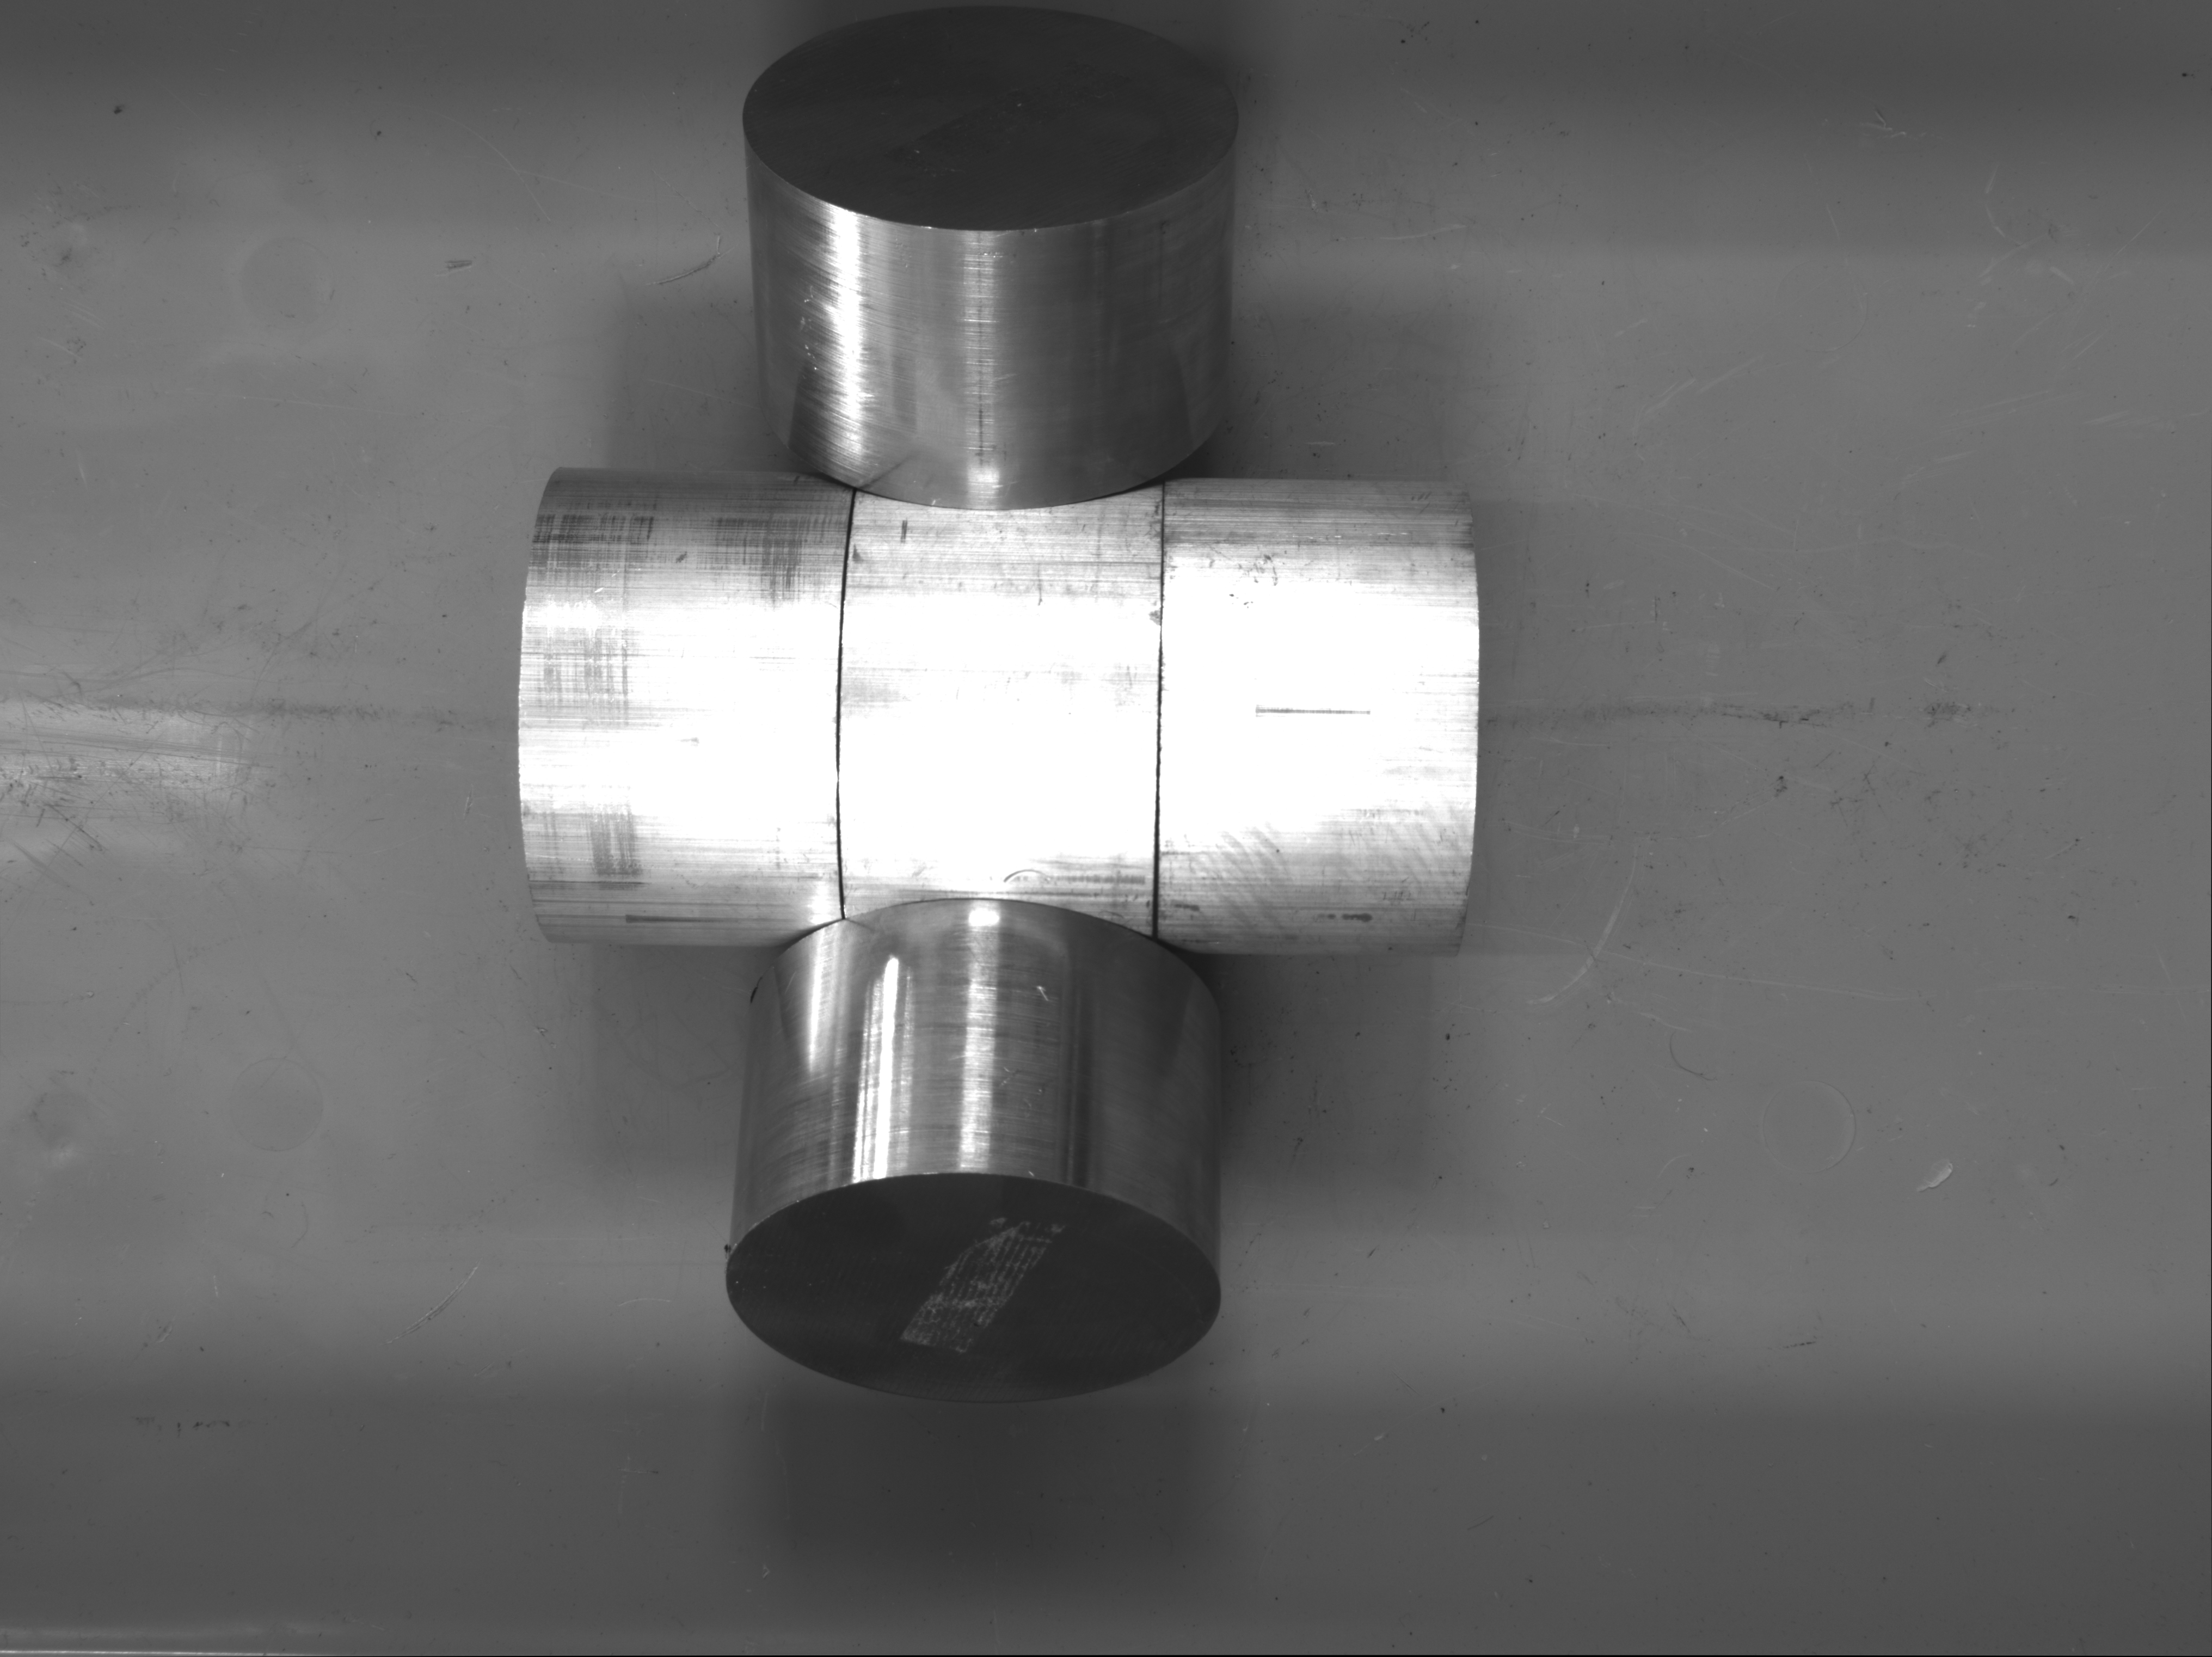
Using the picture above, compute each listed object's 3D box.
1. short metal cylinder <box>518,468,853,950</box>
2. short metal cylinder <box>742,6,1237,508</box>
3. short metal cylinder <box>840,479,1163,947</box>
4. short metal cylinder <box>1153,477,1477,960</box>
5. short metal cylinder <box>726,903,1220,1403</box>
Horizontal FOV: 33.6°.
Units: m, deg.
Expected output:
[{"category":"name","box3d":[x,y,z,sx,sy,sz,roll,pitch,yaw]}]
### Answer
[{"category":"short metal cylinder","box3d":[-0.067,-0.020,0.617,0.050,0.080,0.080,1,90,1]},{"category":"short metal cylinder","box3d":[-0.019,-0.096,0.609,0.080,0.080,0.050,2,128,0]},{"category":"short metal cylinder","box3d":[-0.016,-0.019,0.616,0.050,0.080,0.080,1,90,1]},{"category":"short metal cylinder","box3d":[0.034,-0.018,0.617,0.050,0.080,0.080,1,90,1]},{"category":"short metal cylinder","box3d":[-0.021,0.055,0.609,0.080,0.080,0.050,0,56,0]}]
